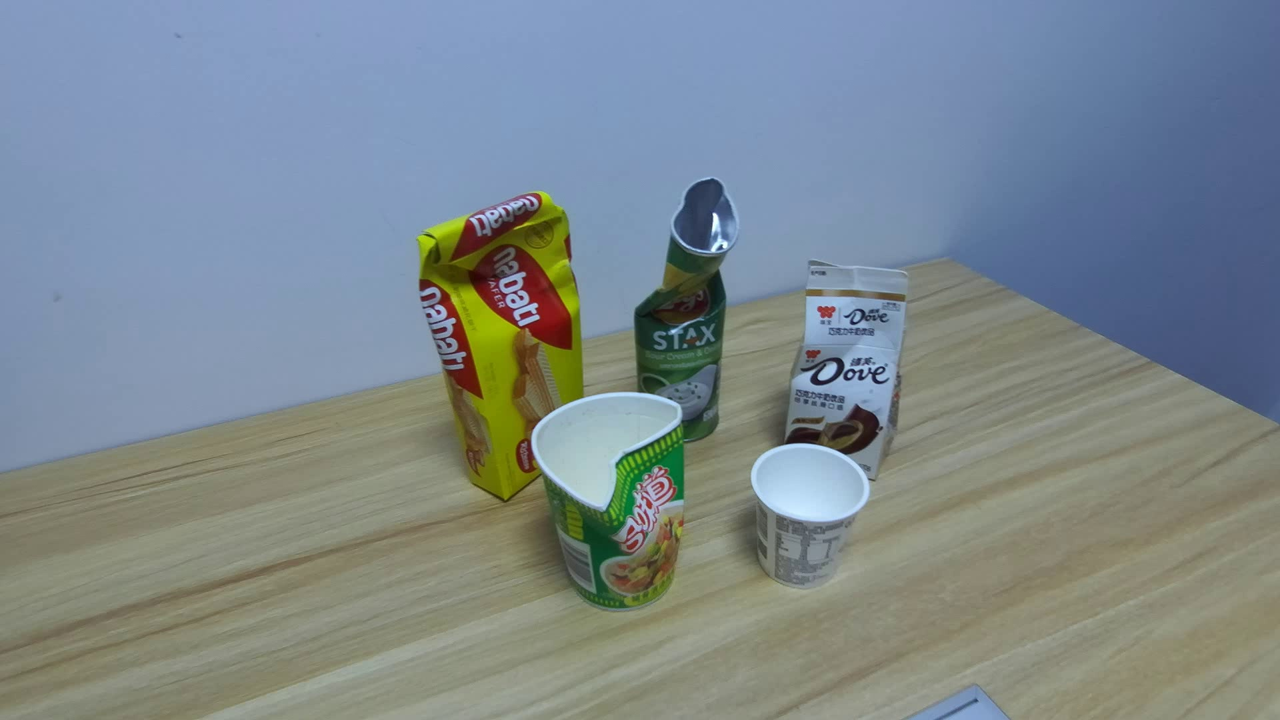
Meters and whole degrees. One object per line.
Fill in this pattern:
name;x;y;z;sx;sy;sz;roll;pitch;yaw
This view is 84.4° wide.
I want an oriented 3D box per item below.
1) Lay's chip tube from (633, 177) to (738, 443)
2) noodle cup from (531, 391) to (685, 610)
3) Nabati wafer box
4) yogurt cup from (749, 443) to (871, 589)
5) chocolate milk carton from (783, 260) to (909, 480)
Lay's chip tube;0.038;-0.028;0.533;0.079;0.199;0.070;-27;47;-31
noodle cup;-0.014;0.088;0.432;0.094;0.109;0.086;-24;40;-32
Nabati wafer box;-0.089;-0.007;0.499;0.042;0.205;0.113;21;39;34
yogurt cup;0.103;0.101;0.447;0.072;0.068;0.072;-1;33;1
chocolate milk carton;0.156;0.002;0.521;0.084;0.155;0.073;12;36;18
